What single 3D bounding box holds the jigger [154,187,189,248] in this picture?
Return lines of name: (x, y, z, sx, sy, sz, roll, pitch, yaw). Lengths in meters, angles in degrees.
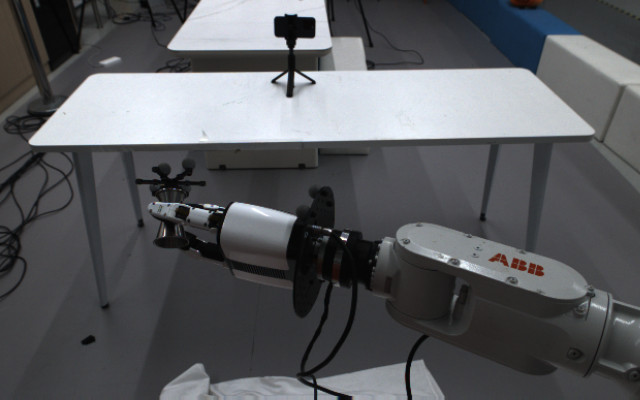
jigger: (-0.192, 0.024, 0.624, 0.043, 0.043, 0.071, -4, 67, -8)
